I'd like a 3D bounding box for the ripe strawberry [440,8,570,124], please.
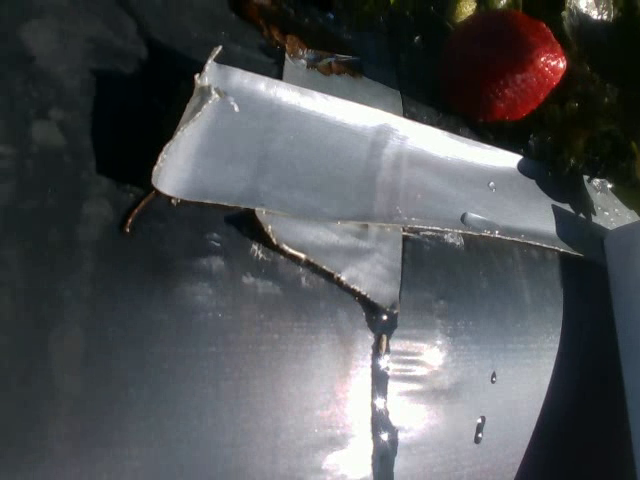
[{"bbox_3d":[0.080,-0.067,0.247,0.057,0.062,0.065,-38,14,5],"label":"ripe strawberry"}]
